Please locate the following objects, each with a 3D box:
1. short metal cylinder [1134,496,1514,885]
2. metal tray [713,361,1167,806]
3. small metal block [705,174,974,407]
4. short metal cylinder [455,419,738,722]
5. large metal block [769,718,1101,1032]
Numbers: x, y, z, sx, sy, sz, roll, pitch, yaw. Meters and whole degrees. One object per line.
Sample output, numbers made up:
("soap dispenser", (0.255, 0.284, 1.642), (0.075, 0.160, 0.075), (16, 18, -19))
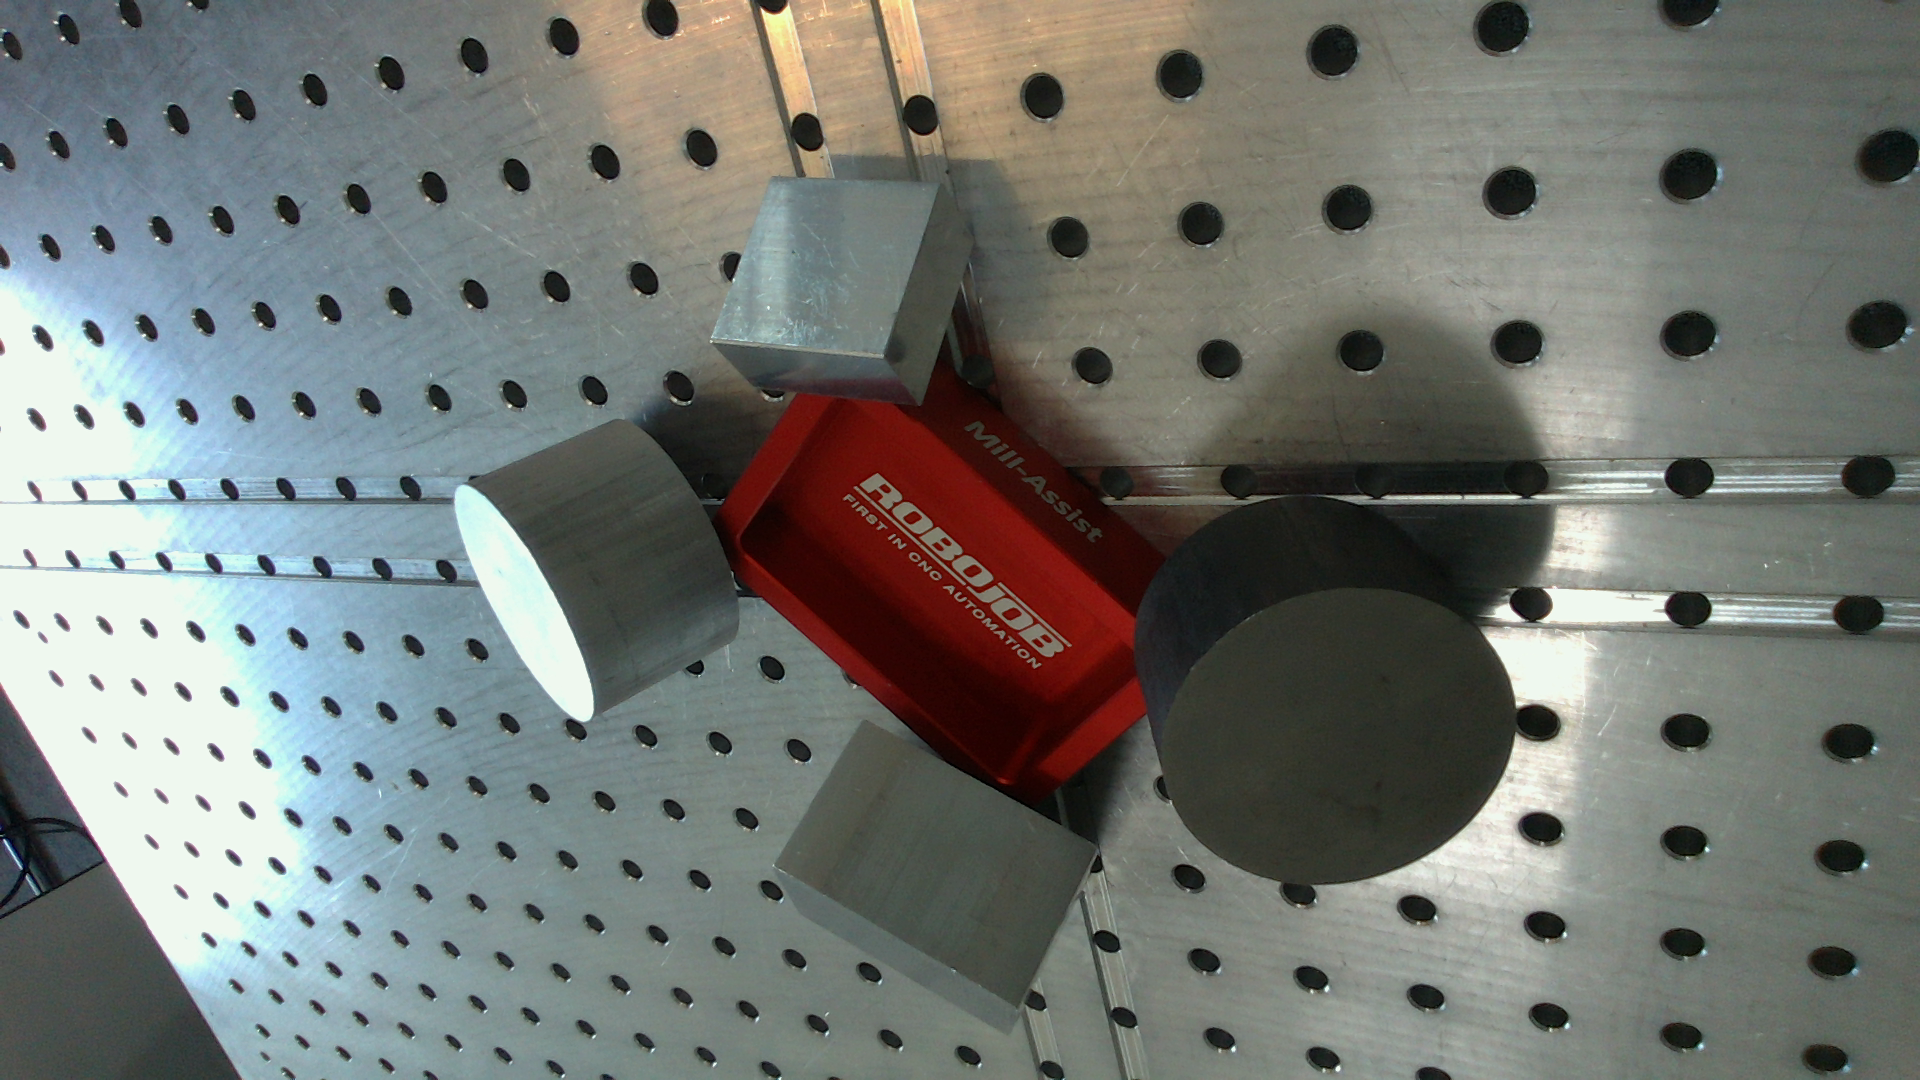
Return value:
("short metal cylinder", (0.086, 0.036, 0.336), (0.080, 0.050, 0.080), (-1, 116, -1))
("metal tray", (-0.003, 0.010, 0.399), (0.130, 0.030, 0.090), (41, 129, 0))
("small metal block", (-0.030, -0.064, 0.352), (0.050, 0.050, 0.025), (9, 160, 24))
("short metal cylinder", (-0.113, 0.009, 0.426), (0.080, 0.050, 0.080), (37, 144, 35))
("large metal block", (-0.007, 0.107, 0.427), (0.080, 0.050, 0.080), (27, 158, 11))
